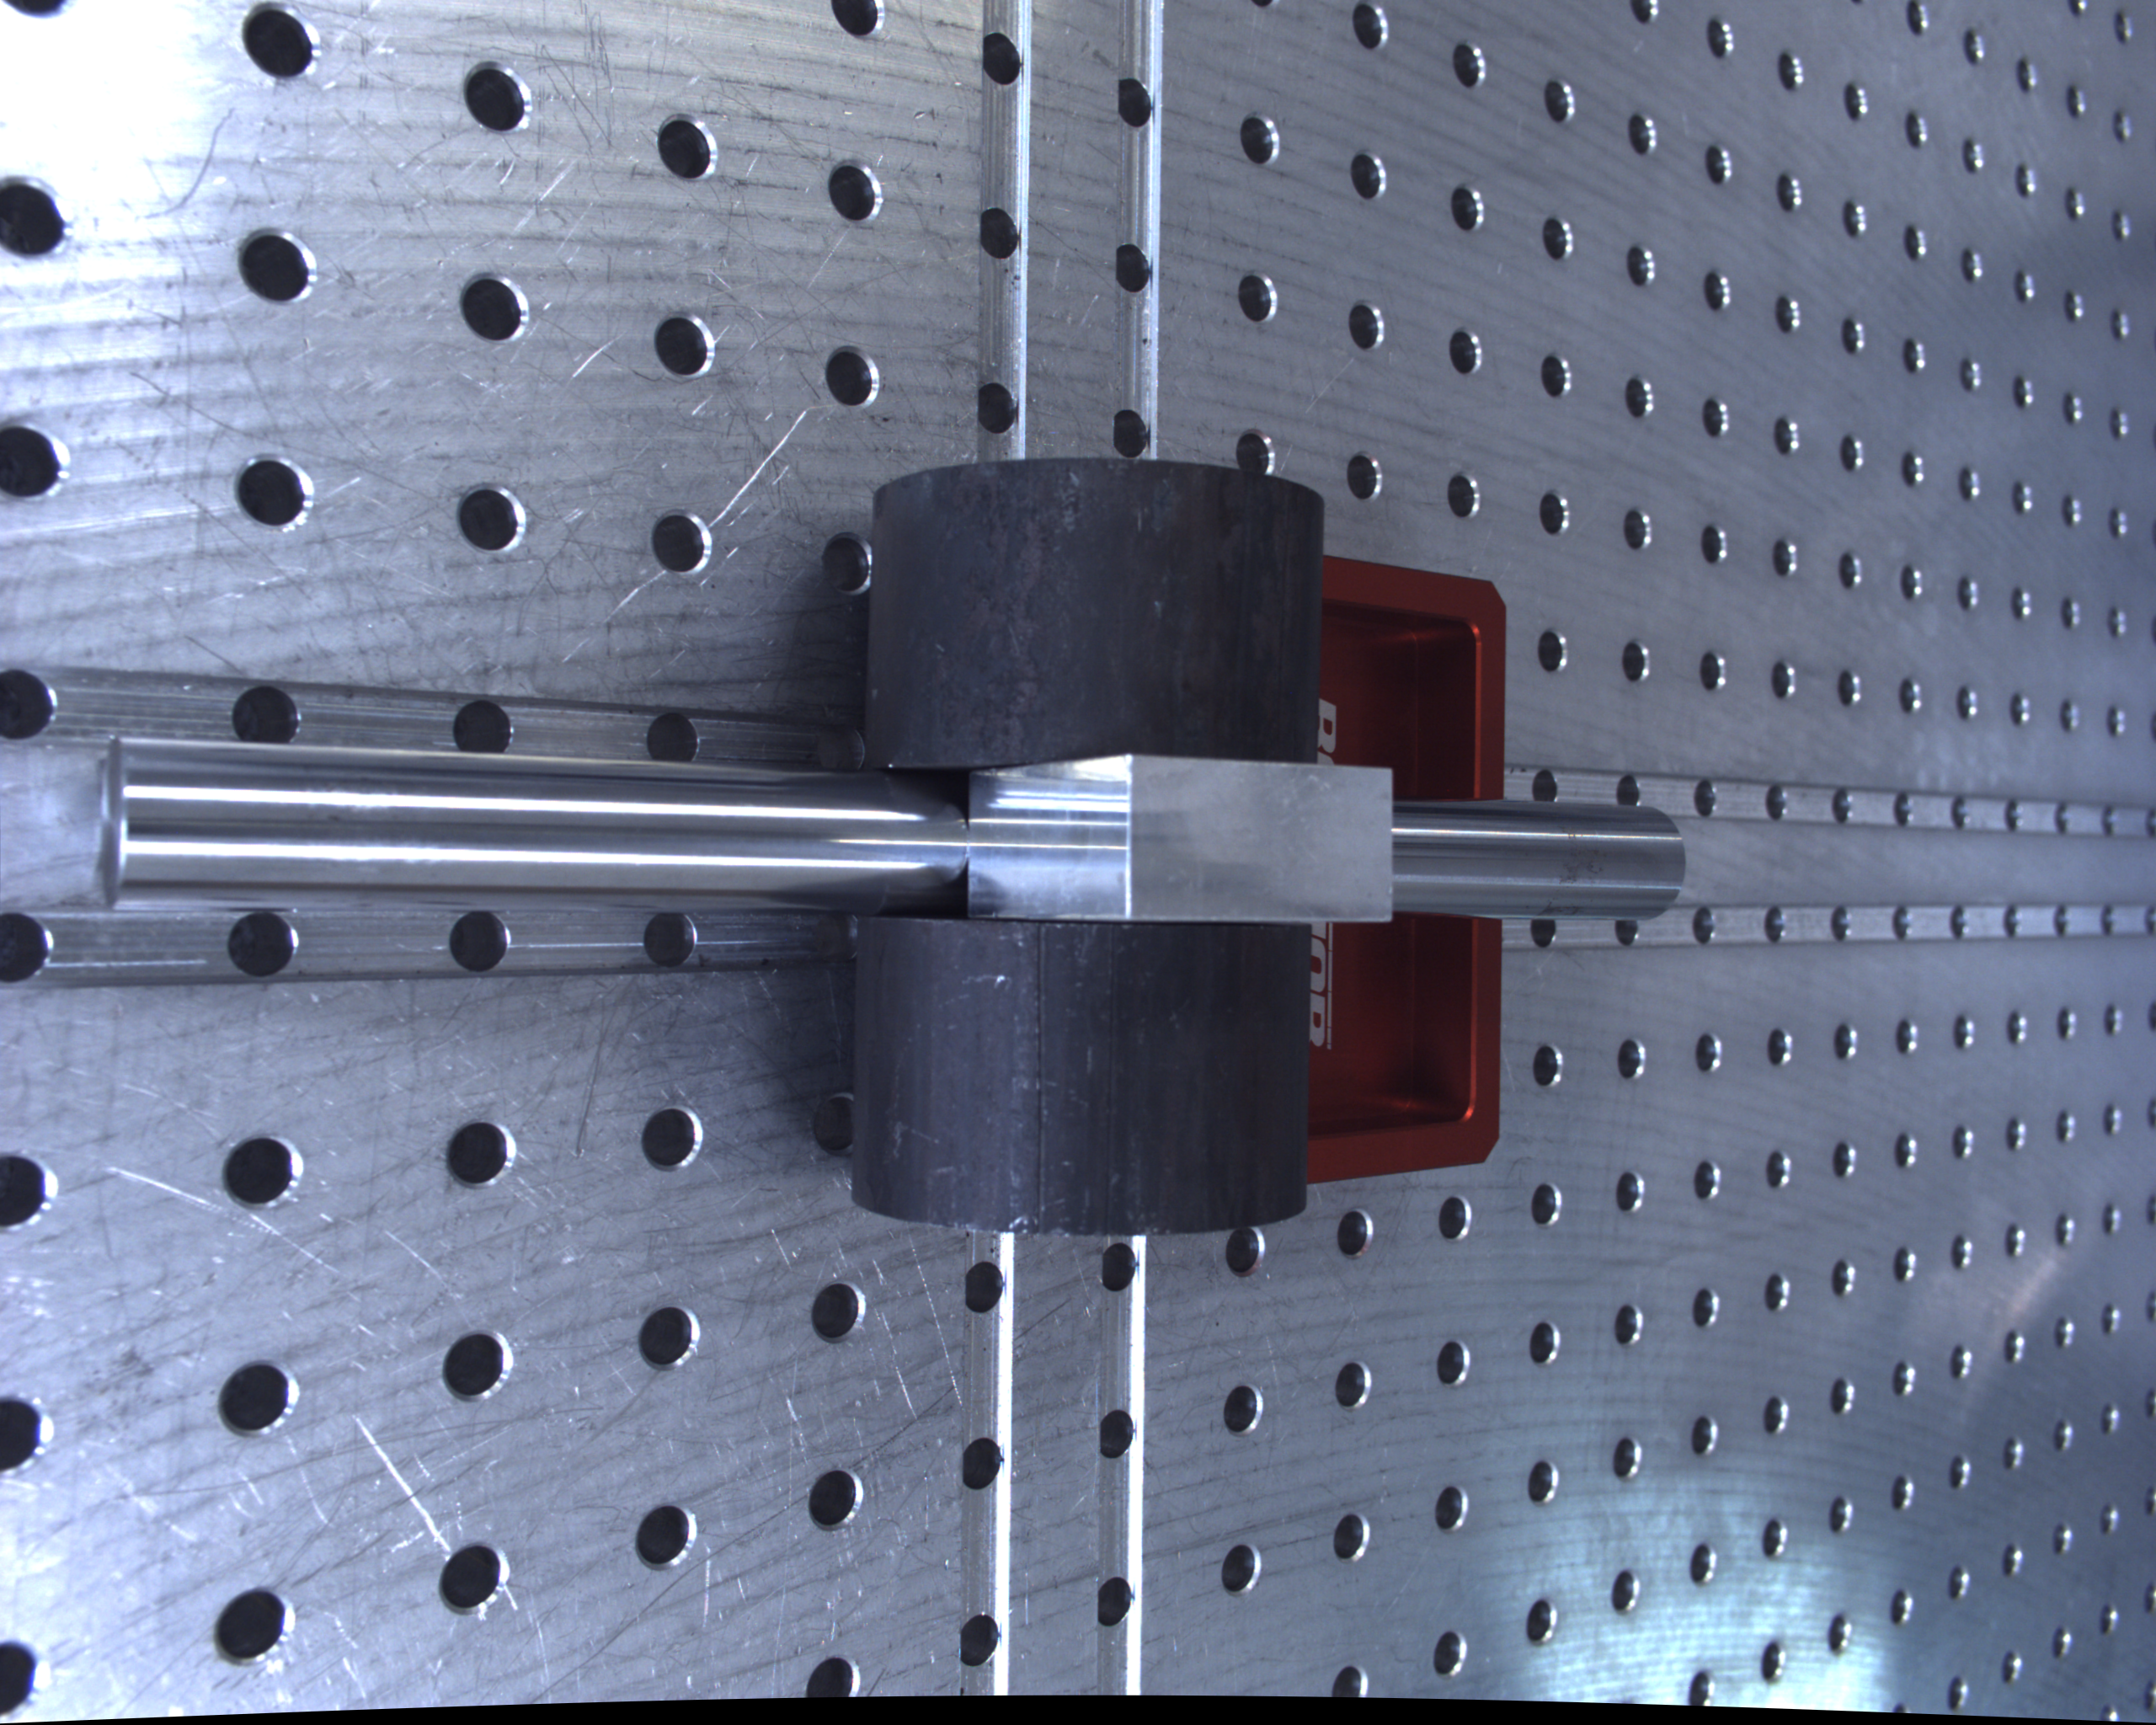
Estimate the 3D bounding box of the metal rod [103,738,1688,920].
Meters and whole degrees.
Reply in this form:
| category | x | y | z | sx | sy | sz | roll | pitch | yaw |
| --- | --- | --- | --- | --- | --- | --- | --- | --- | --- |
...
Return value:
| category | x | y | z | sx | sy | sz | roll | pitch | yaw |
| --- | --- | --- | --- | --- | --- | --- | --- | --- | --- |
| metal rod | -0.007 | -0.003 | 0.373 | 0.303 | 0.025 | 0.025 | 1 | 89 | -31 |

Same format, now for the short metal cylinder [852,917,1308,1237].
| category | x | y | z | sx | sy | sz | roll | pitch | yaw |
| --- | --- | --- | --- | --- | --- | --- | --- | --- | --- |
| short metal cylinder | 0.001 | 0.035 | 0.373 | 0.081 | 0.080 | 0.050 | 2 | 89 | -40 |

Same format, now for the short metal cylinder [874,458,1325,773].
| category | x | y | z | sx | sy | sz | roll | pitch | yaw |
| --- | --- | --- | --- | --- | --- | --- | --- | --- | --- |
| short metal cylinder | 0.004 | -0.040 | 0.374 | 0.081 | 0.080 | 0.050 | 1 | 90 | -40 |

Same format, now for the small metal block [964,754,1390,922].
| category | x | y | z | sx | sy | sz | roll | pitch | yaw |
| --- | --- | --- | --- | --- | --- | --- | --- | --- | --- |
| small metal block | 0.015 | -0.004 | 0.344 | 0.050 | 0.050 | 0.025 | 1 | 90 | -32 |

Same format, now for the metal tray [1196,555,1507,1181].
| category | x | y | z | sx | sy | sz | roll | pitch | yaw |
| --- | --- | --- | --- | --- | --- | --- | --- | --- | --- |
| metal tray | 0.051 | 0.001 | 0.448 | 0.091 | 0.030 | 0.129 | 1 | 89 | -40 |
